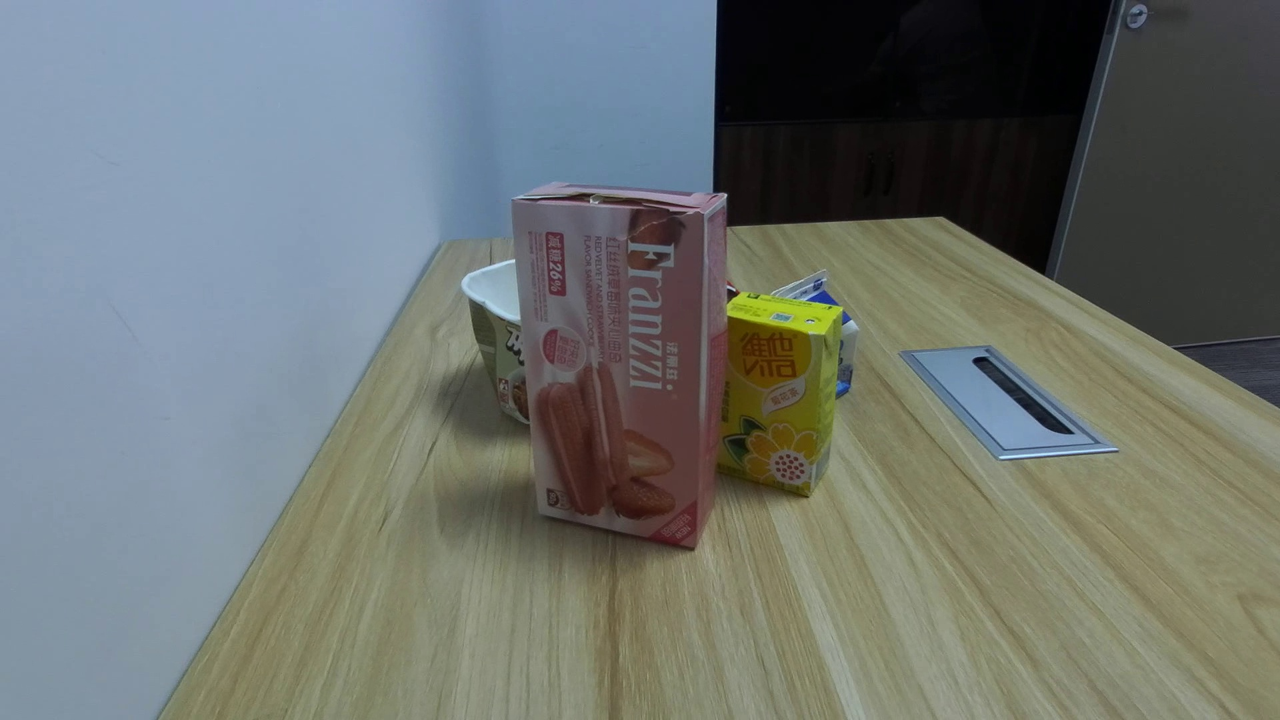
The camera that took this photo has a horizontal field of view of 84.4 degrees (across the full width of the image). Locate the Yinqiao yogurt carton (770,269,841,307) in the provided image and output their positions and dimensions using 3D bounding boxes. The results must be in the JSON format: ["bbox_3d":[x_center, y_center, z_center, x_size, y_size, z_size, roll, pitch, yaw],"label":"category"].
[{"bbox_3d":[0.110,-0.017,0.516,0.078,0.094,0.070,-24,40,-34],"label":"Yinqiao yogurt carton"}]

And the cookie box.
[{"bbox_3d":[-0.005,0.003,0.373,0.105,0.187,0.049,8,27,19],"label":"cookie box"}]

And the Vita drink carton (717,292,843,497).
[{"bbox_3d":[0.081,0.020,0.423,0.066,0.109,0.044,12,31,26],"label":"Vita drink carton"}]
